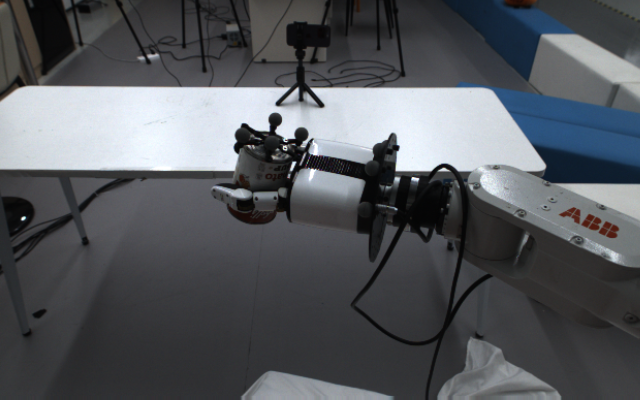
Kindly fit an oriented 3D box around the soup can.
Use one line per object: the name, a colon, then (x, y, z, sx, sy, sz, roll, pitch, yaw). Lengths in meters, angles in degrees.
soup can: (-0.075, -0.027, 0.616, 0.067, 0.101, 0.067, 14, 35, -10)
